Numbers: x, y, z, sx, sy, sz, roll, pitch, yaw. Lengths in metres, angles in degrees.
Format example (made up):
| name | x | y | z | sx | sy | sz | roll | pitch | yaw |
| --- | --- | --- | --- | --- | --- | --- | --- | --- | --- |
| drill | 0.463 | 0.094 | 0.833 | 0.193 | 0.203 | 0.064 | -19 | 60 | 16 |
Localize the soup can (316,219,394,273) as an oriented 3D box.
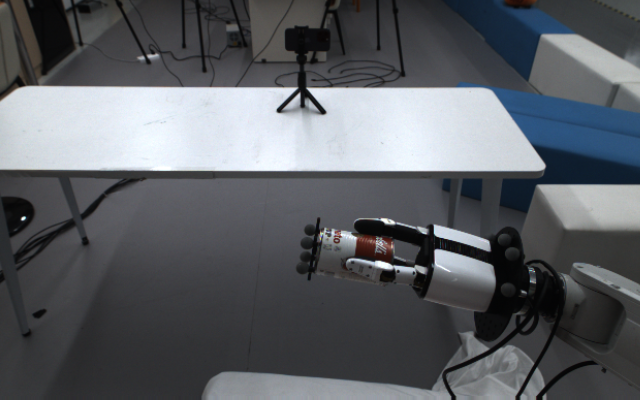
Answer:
| name | x | y | z | sx | sy | sz | roll | pitch | yaw |
| --- | --- | --- | --- | --- | --- | --- | --- | --- | --- |
| soup can | 0.049 | 0.077 | 0.669 | 0.101 | 0.067 | 0.067 | 9 | 35 | 0 |
